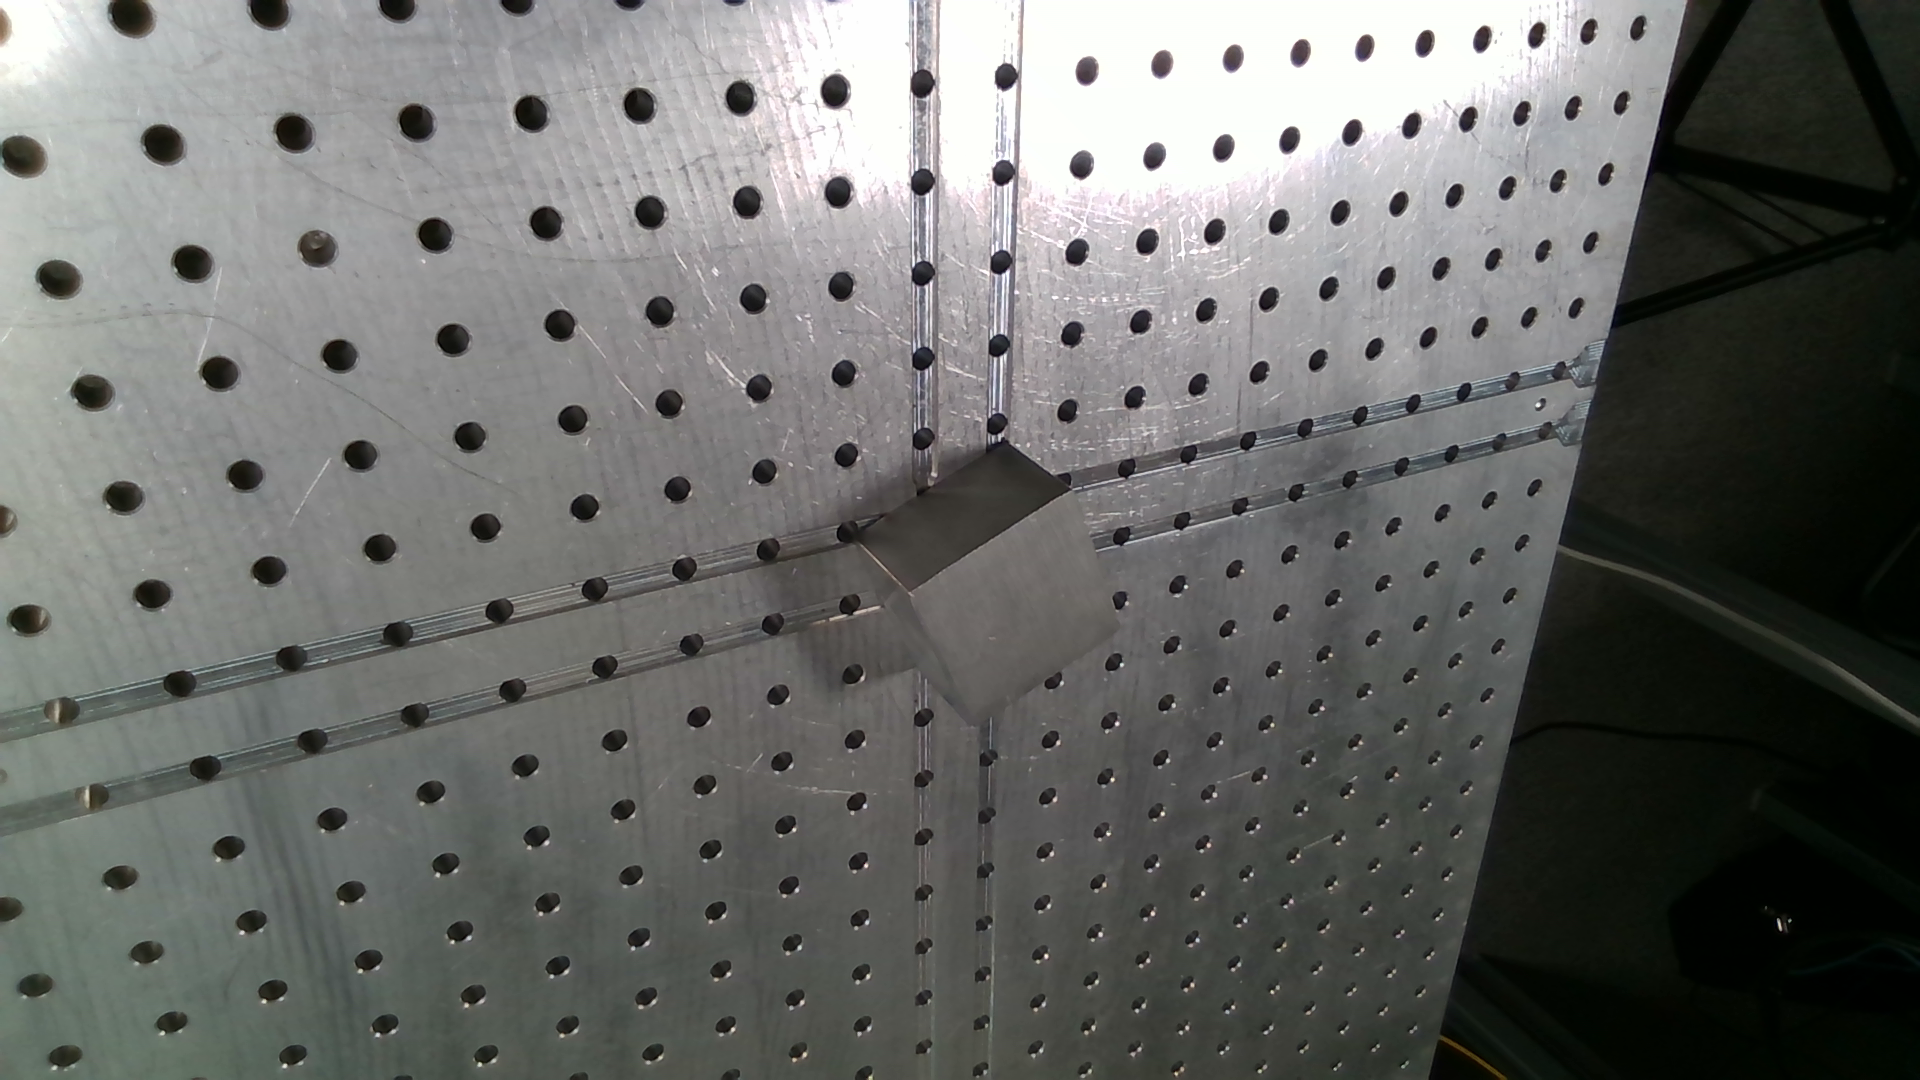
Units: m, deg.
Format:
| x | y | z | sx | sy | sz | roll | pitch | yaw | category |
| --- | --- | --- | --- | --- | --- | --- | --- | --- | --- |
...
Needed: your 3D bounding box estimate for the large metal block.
| x | y | z | sx | sy | sz | roll | pitch | yaw | category |
| --- | --- | --- | --- | --- | --- | --- | --- | --- | --- |
| 0.013 | 0.019 | 0.582 | 0.080 | 0.050 | 0.080 | -33 | 127 | -13 | large metal block |
